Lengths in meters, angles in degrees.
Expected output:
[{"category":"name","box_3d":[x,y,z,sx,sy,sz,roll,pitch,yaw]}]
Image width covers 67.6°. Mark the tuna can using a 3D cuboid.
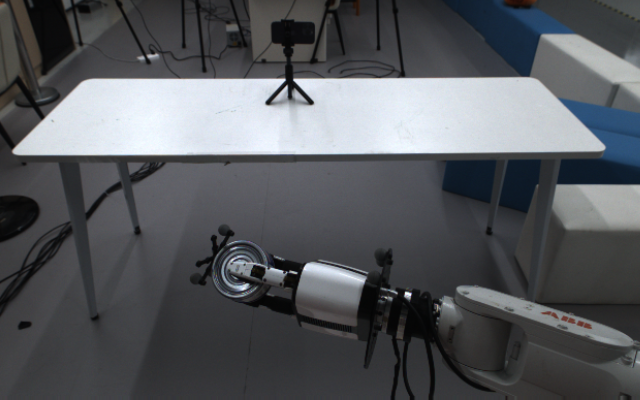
[{"category":"tuna can","box_3d":[-0.105,0.106,0.680,0.085,0.034,0.085,-3,70,9]}]
